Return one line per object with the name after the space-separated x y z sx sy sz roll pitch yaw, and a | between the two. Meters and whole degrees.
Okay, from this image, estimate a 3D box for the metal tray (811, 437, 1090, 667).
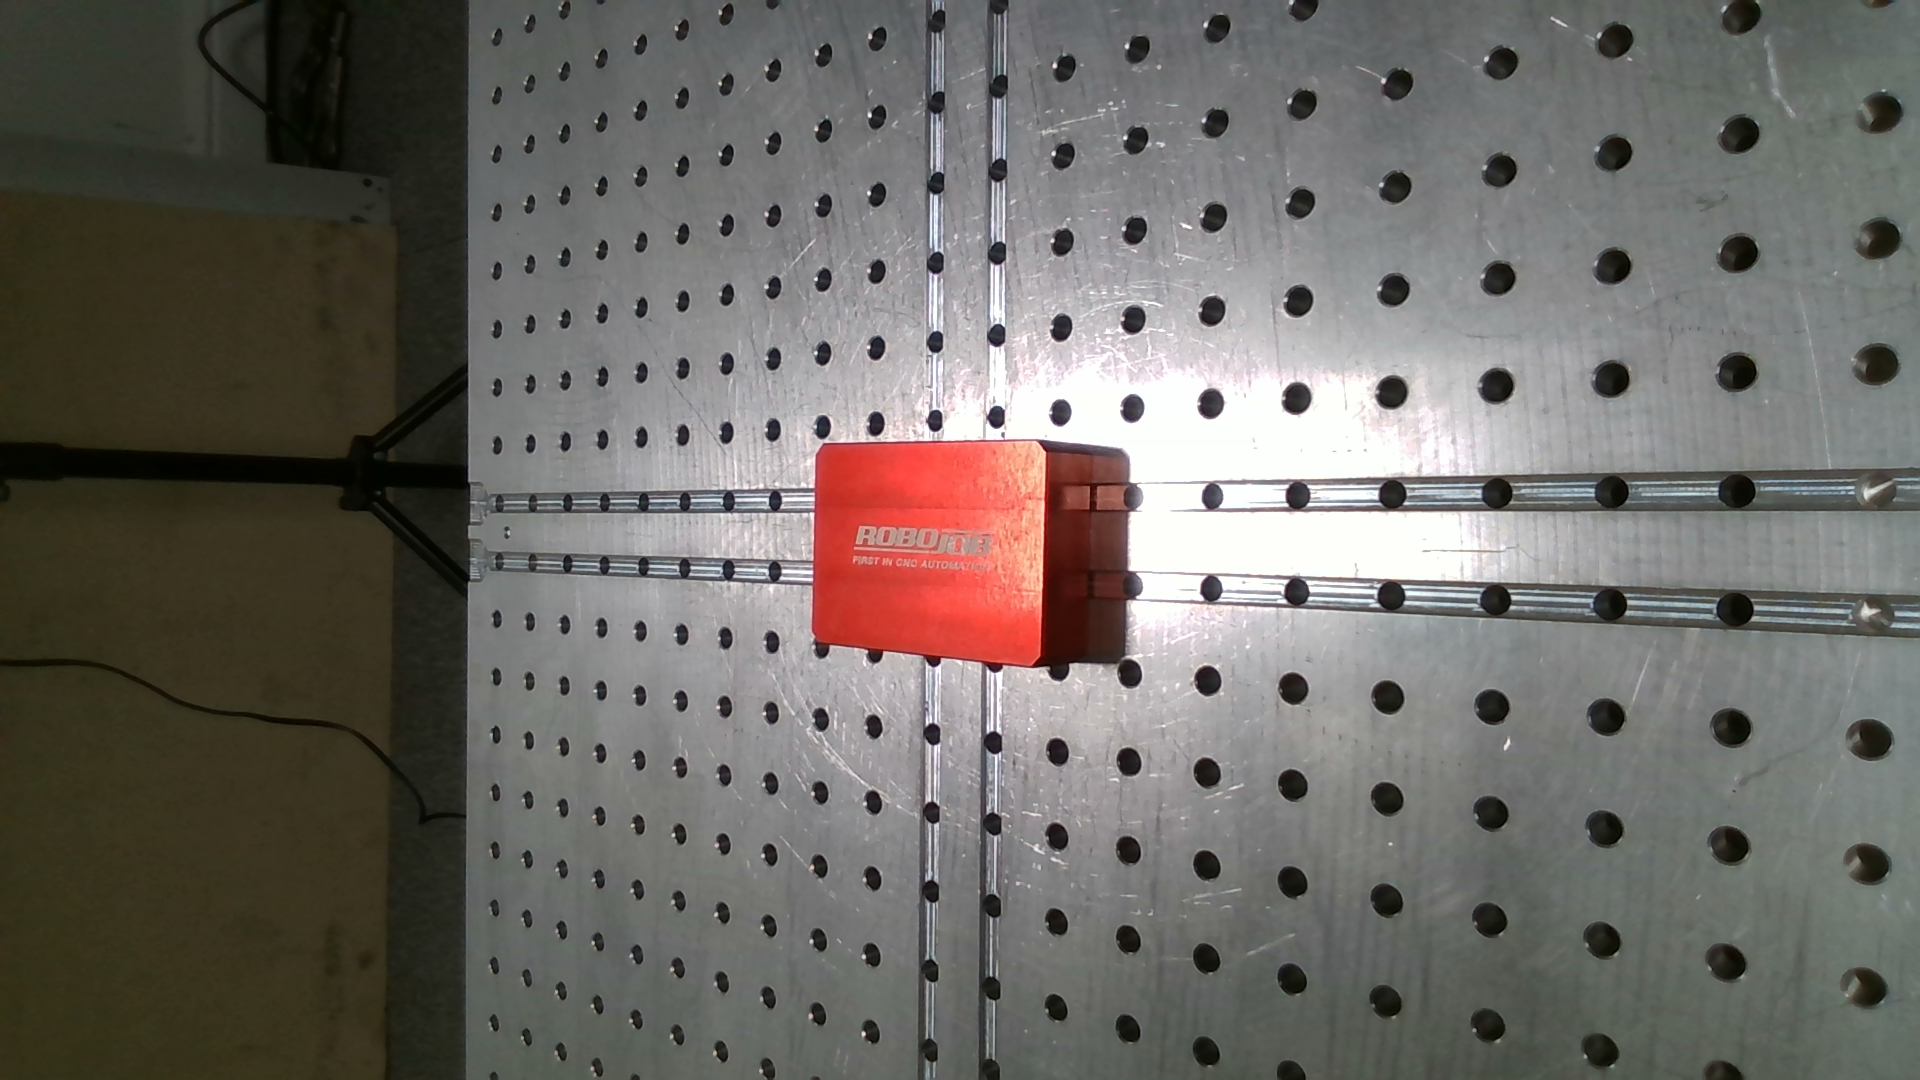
-0.007 0.003 0.587 0.130 0.030 0.090 3 92 40 | metal tray
